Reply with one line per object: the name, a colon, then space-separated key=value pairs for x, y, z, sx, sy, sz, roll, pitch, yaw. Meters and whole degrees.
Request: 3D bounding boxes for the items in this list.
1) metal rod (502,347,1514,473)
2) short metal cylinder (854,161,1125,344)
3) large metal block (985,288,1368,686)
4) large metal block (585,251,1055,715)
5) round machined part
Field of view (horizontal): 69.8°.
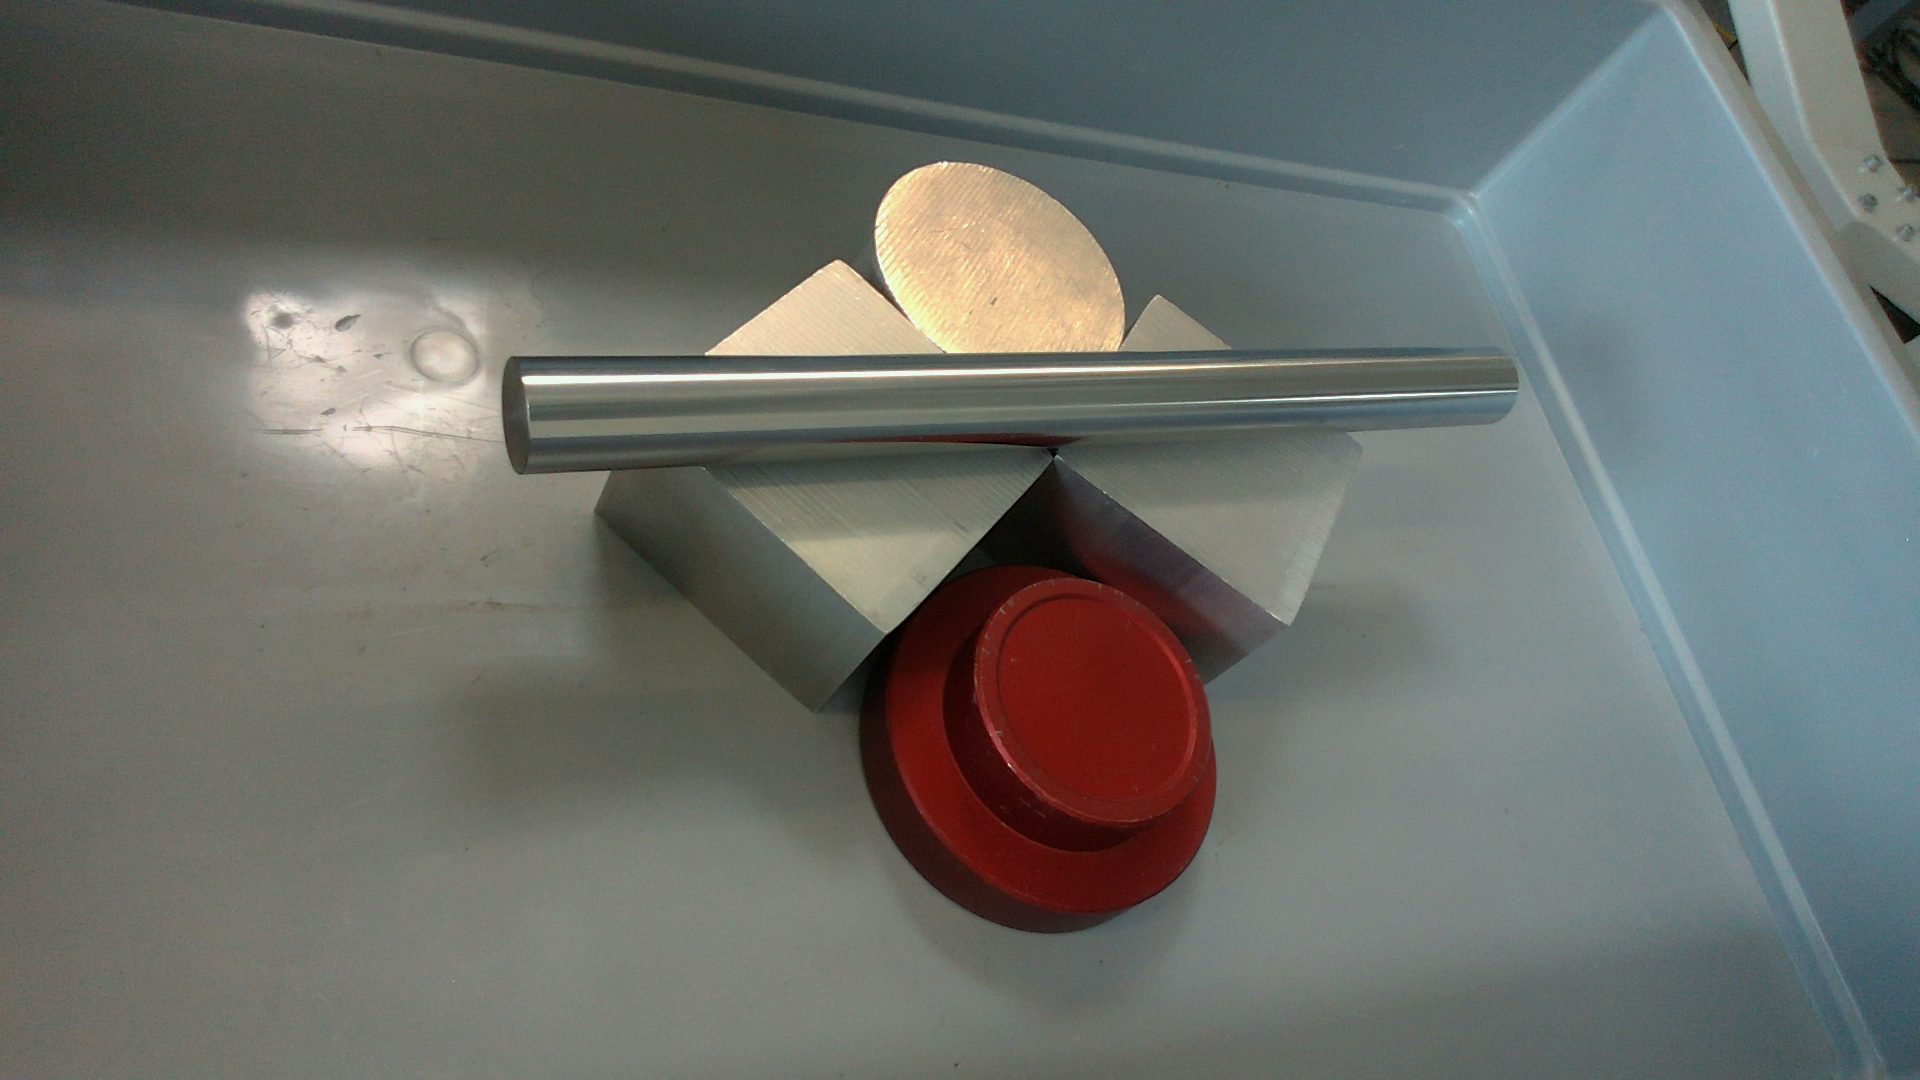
metal rod: x=0.036 y=-0.038 z=0.364 sx=0.301 sy=0.025 sz=0.025 roll=-5 pitch=64 yaw=-30
short metal cylinder: x=0.002 y=-0.066 z=0.413 sx=0.080 sy=0.050 sz=0.080 roll=14 pitch=56 yaw=-21
large metal block: x=0.065 y=-0.014 z=0.412 sx=0.080 sy=0.050 sz=0.080 roll=36 pitch=52 yaw=-4
large metal block: x=-0.036 y=-0.016 z=0.362 sx=0.080 sy=0.050 sz=0.080 roll=44 pitch=51 yaw=0
round machined part: x=0.027 y=0.049 z=0.361 sx=0.098 sy=0.042 sz=0.098 roll=14 pitch=56 yaw=-21
